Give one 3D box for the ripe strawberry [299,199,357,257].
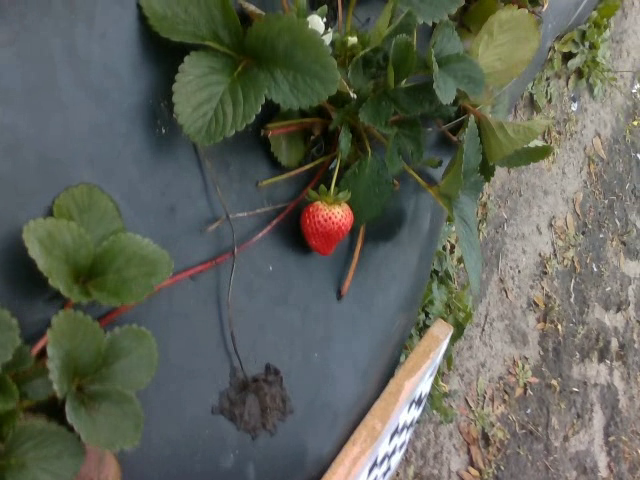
[{"bbox_3d":[0.010,-0.010,0.553,0.049,0.065,0.061,22,29,22],"label":"ripe strawberry"}]
